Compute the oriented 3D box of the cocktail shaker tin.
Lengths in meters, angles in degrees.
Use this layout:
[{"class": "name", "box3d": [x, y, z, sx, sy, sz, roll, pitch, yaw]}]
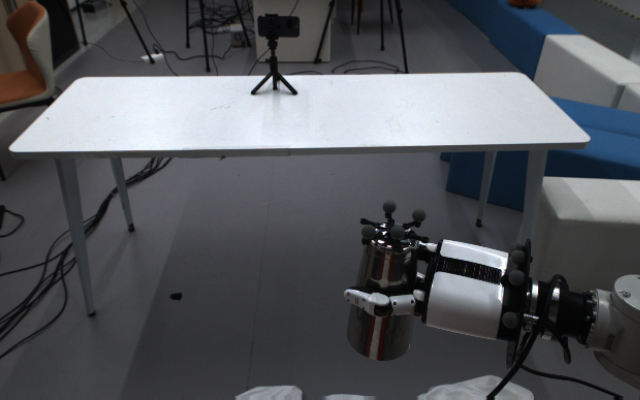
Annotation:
[{"class": "cocktail shaker tin", "box3d": [0.090, 0.118, 0.645, 0.093, 0.170, 0.093, 2, 30, -1]}]
